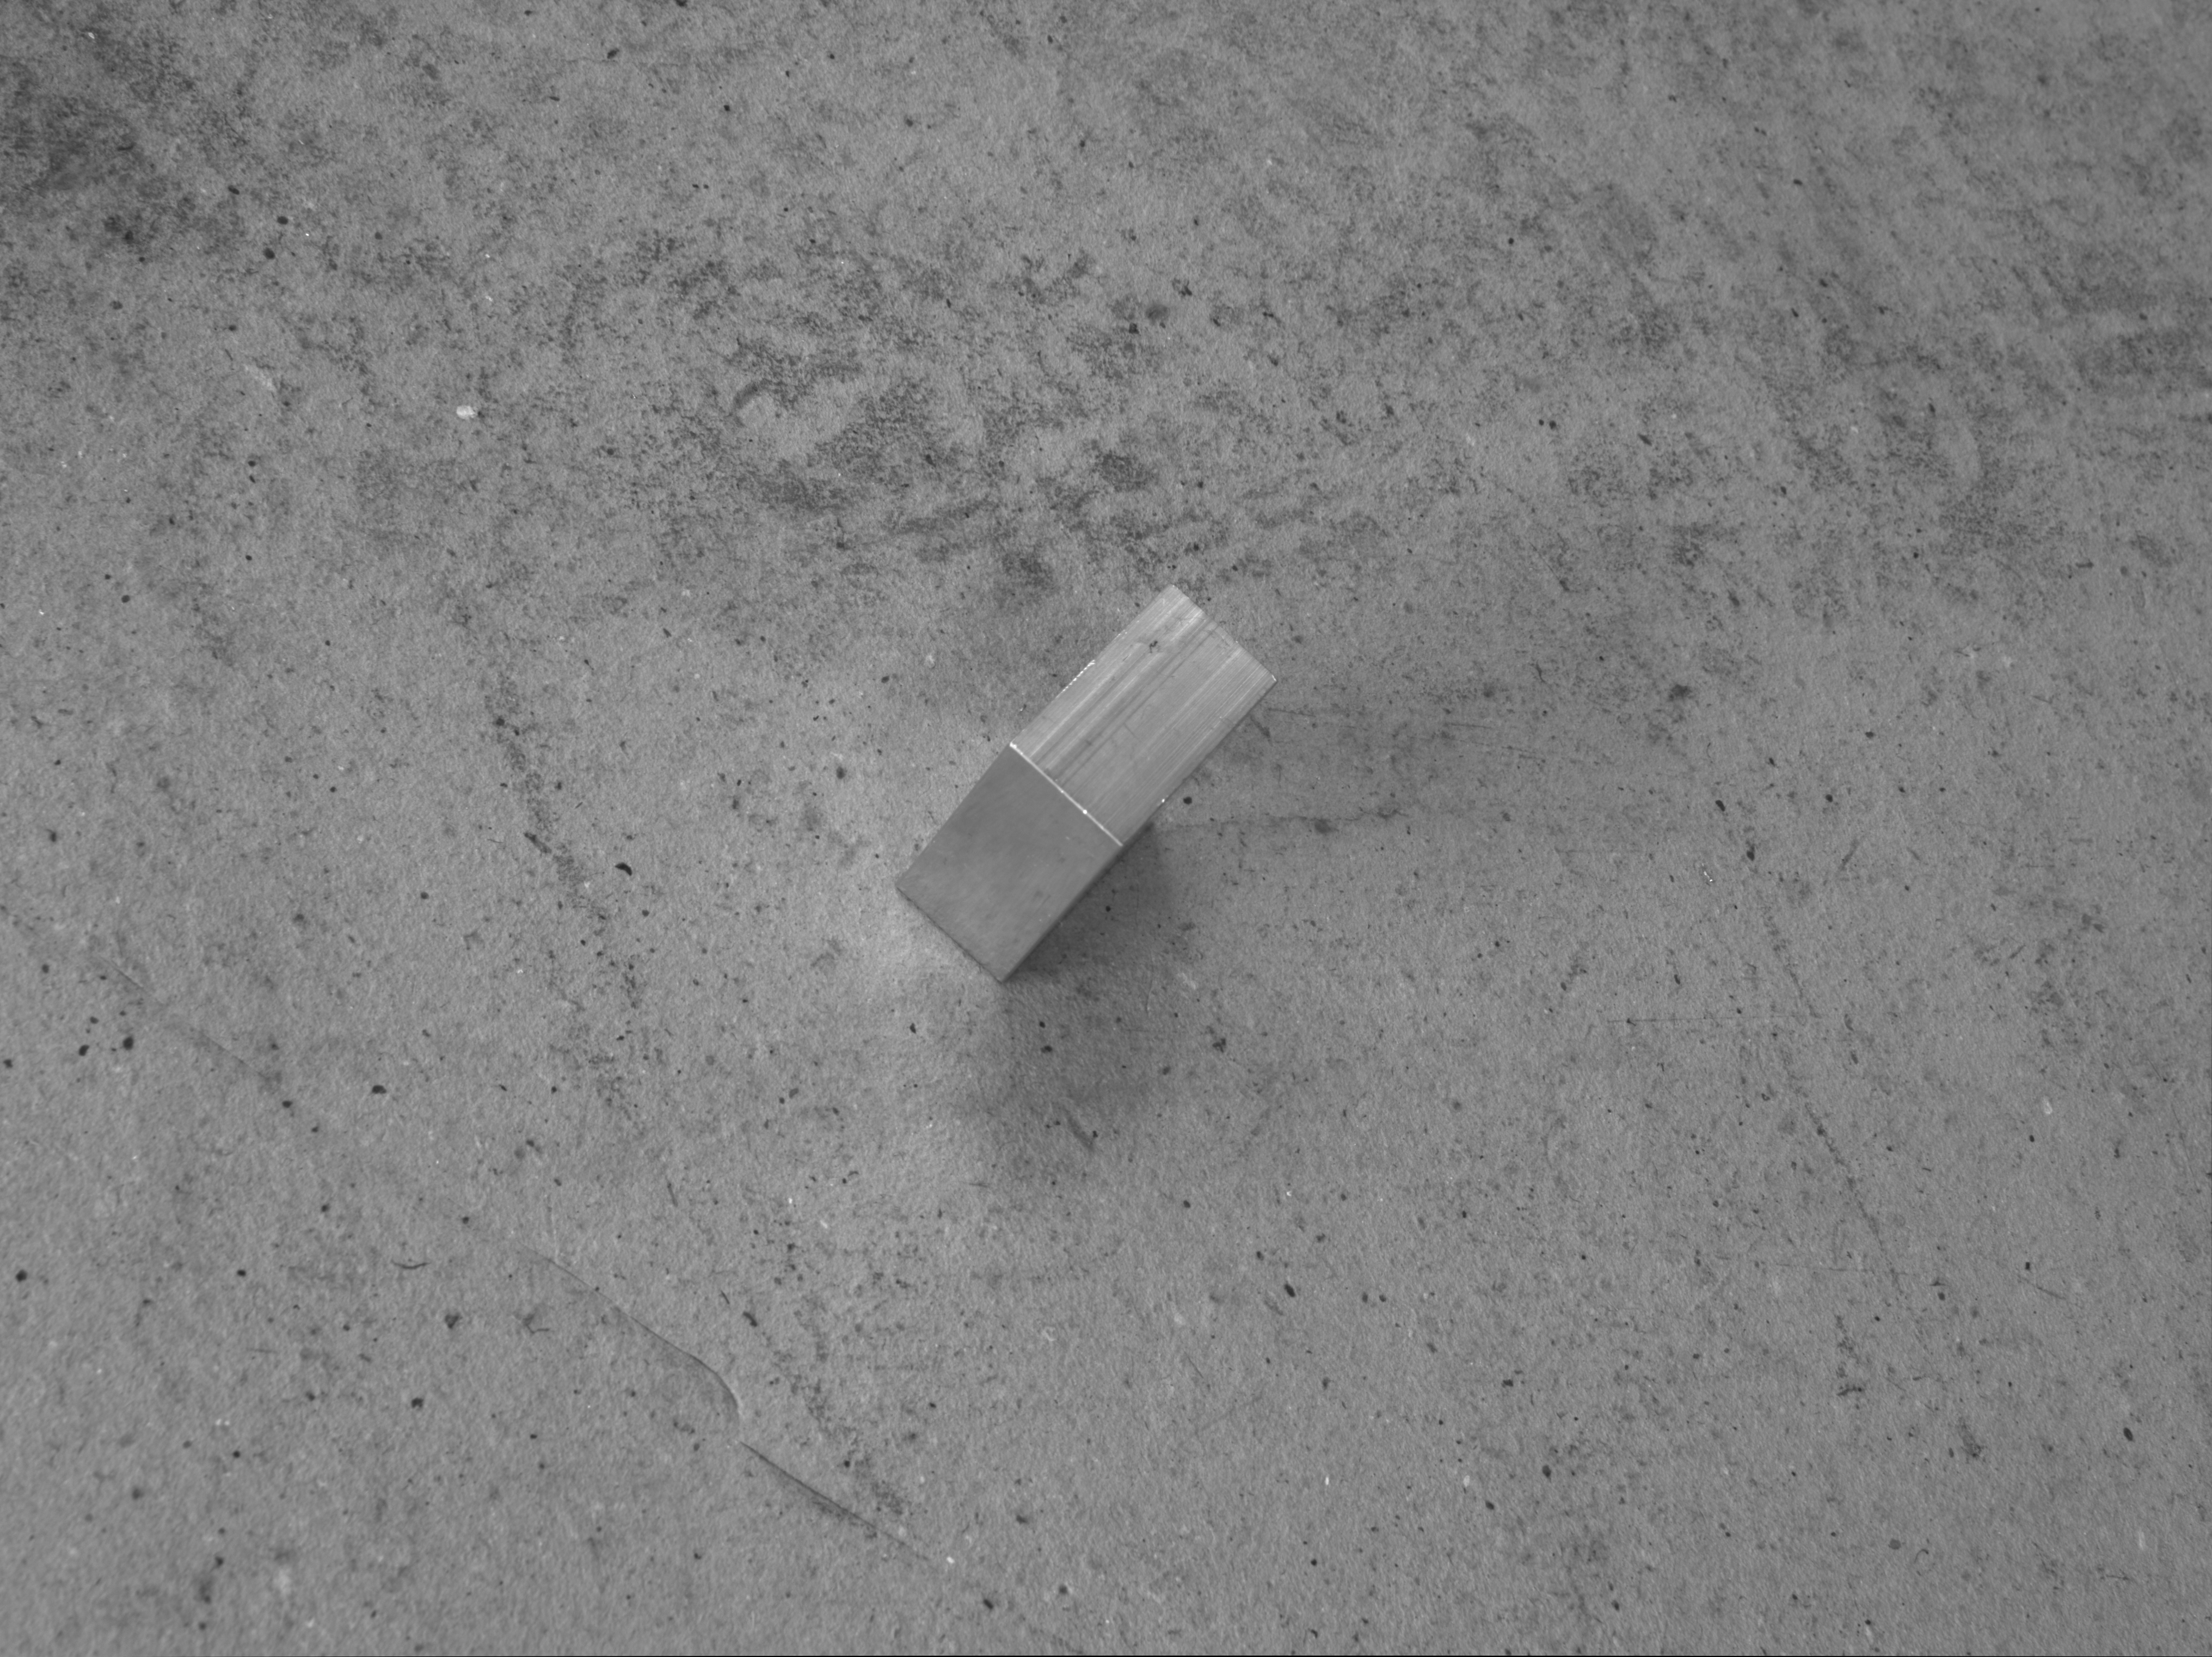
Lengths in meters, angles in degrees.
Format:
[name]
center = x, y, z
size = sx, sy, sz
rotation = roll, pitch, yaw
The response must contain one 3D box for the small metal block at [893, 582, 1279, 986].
[small metal block]
center = -0.004, -0.007, 0.626
size = 0.025, 0.050, 0.050
rotation = 43, 51, 1
